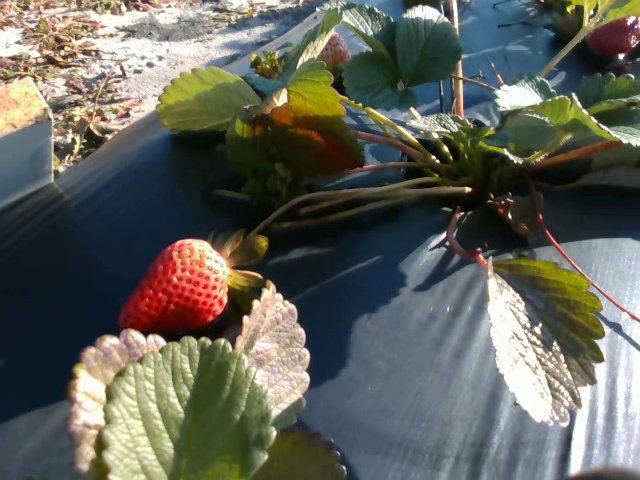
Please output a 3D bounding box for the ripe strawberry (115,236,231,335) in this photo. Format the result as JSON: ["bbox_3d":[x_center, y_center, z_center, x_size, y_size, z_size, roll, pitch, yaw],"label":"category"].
[{"bbox_3d":[-0.062,0.021,0.248,0.044,0.044,0.063,-31,6,47],"label":"ripe strawberry"}]
